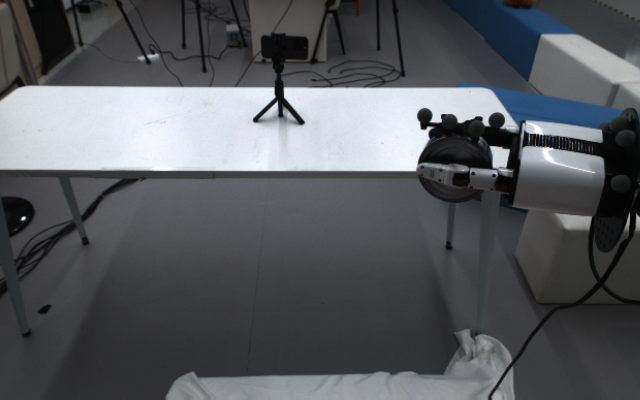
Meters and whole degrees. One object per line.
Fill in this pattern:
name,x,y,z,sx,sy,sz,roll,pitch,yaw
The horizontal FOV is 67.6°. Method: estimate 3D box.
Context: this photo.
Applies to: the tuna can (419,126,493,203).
tuna can,0.165,-0.046,0.583,0.085,0.085,0.034,13,30,15
